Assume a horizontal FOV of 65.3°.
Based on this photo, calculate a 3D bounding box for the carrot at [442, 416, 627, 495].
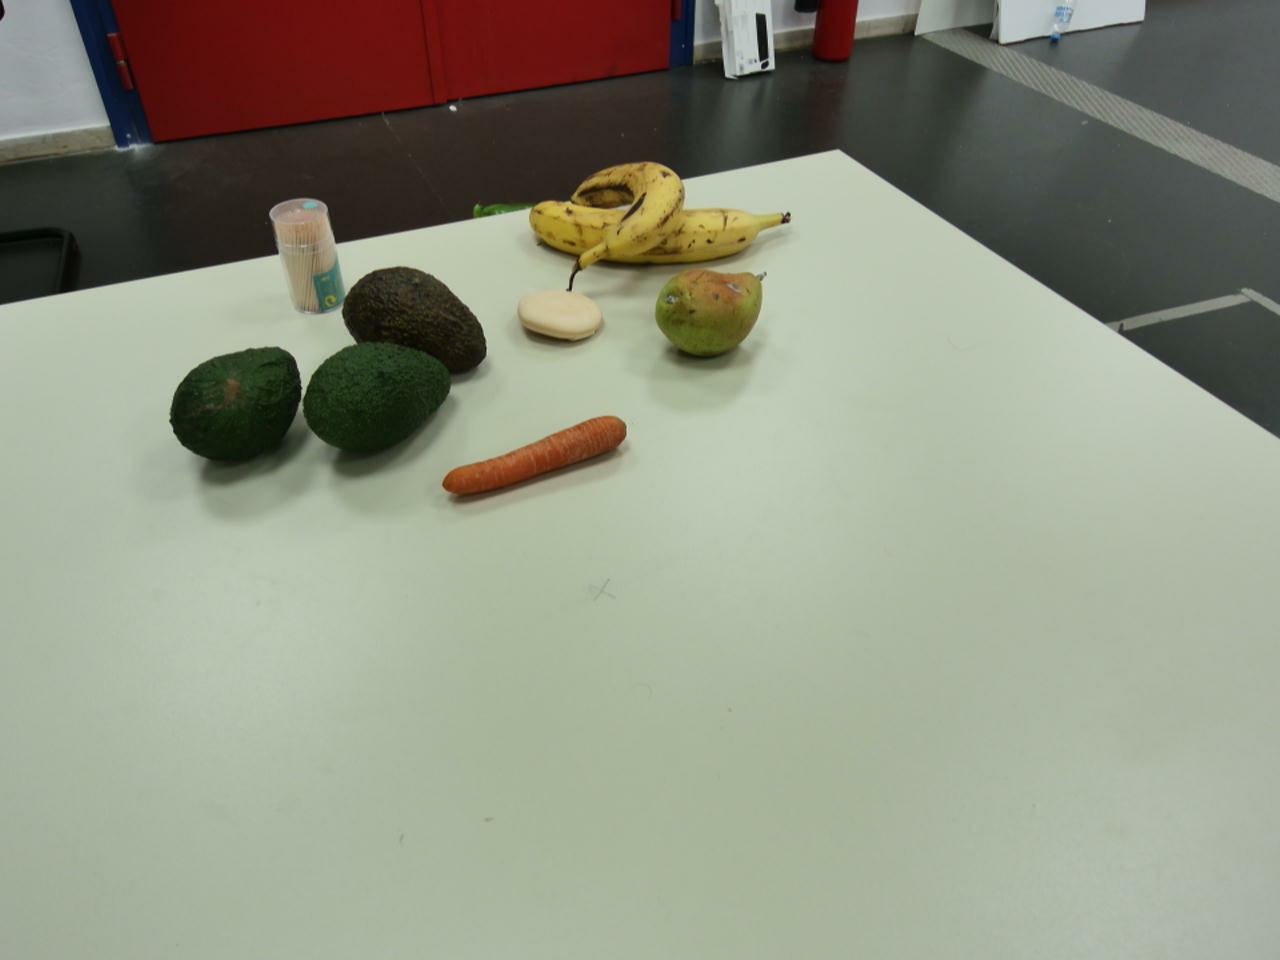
[{"bbox_3d":[-0.063,-0.015,0.616,0.122,0.023,0.024,-18,42,-21],"label":"carrot"}]
